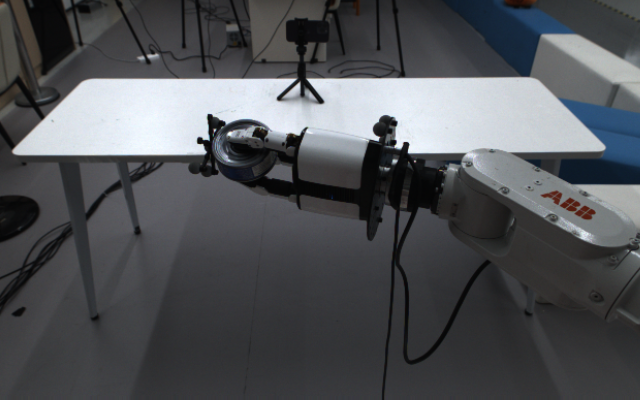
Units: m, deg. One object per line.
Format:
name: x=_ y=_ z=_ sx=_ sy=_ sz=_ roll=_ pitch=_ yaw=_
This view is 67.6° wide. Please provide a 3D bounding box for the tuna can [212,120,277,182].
tuna can: x=-0.101 y=-0.069 z=0.662 sx=0.085 sy=0.034 sz=0.085 roll=-2 pitch=58 yaw=3
